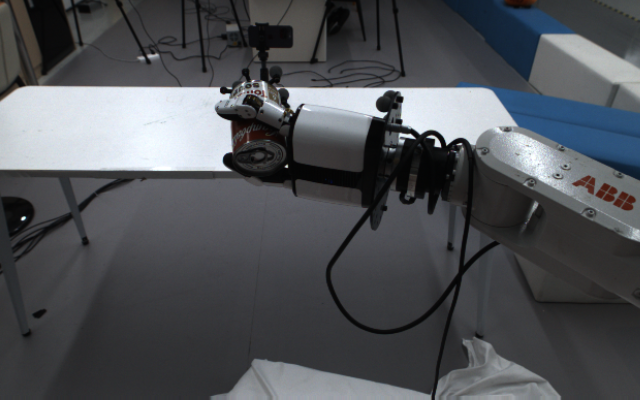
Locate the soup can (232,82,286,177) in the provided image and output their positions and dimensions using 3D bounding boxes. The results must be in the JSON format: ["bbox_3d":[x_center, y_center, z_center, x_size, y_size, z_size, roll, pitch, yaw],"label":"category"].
[{"bbox_3d":[-0.076,-0.089,0.597,0.067,0.067,0.101,-5,57,-10],"label":"soup can"}]
